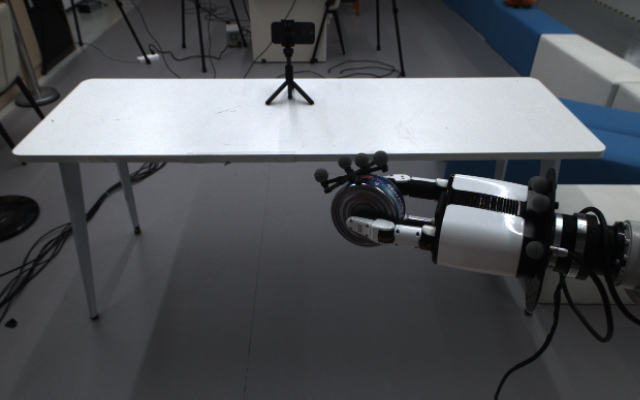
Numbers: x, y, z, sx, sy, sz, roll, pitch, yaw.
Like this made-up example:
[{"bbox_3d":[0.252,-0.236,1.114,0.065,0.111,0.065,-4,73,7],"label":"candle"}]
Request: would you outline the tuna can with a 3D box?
[{"bbox_3d":[0.060,0.011,0.584,0.085,0.085,0.034,15,30,17],"label":"tuna can"}]
